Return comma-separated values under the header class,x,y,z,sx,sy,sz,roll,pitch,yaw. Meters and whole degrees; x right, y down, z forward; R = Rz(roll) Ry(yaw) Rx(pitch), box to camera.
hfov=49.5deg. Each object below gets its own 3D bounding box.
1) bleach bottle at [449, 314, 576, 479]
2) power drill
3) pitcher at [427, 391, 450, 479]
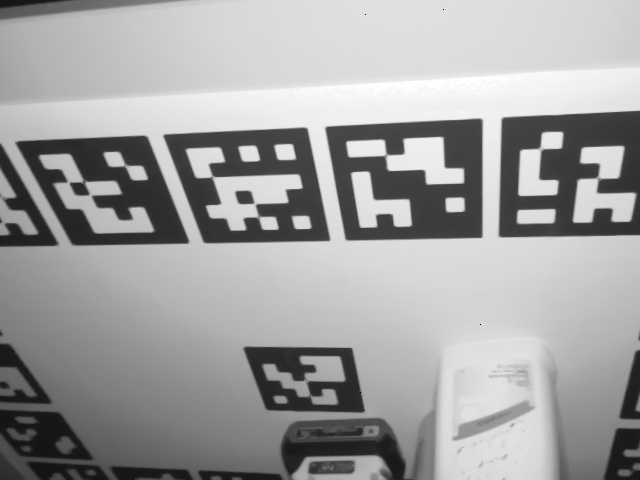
class,x,y,z,sx,sy,sz,roll,pitch,yaw
bleach bottle,0.140,0.163,0.470,0.102,0.253,0.067,-10,126,16
power drill,-0.009,0.249,0.598,0.183,0.189,0.057,-5,125,19
pitcher,0.150,0.230,0.548,0.186,0.245,0.133,-27,118,26
